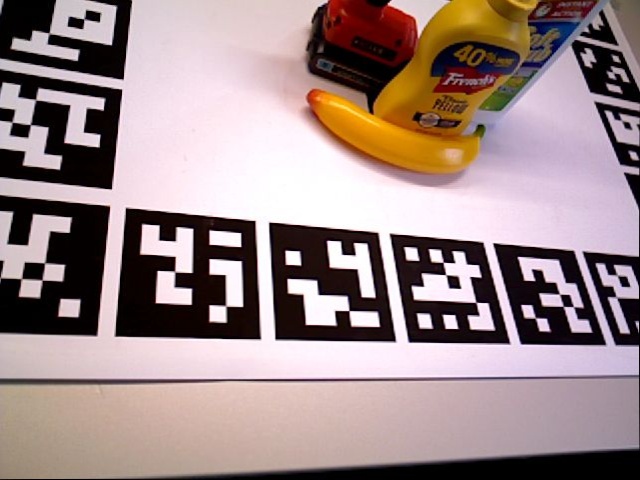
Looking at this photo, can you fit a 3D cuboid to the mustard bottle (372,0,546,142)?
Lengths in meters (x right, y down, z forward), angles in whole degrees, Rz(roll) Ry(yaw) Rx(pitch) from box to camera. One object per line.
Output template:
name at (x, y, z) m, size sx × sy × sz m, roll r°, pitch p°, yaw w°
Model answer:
mustard bottle at (0.128, -0.161, 0.472) m, size 0.095 × 0.196 × 0.058 m, roll 6°, pitch 62°, yaw -20°

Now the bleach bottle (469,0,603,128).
bleach bottle at (0.197, -0.217, 0.499) m, size 0.101 × 0.257 × 0.067 m, roll 8°, pitch 56°, yaw -18°

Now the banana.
banana at (0.081, -0.097, 0.526) m, size 0.195 × 0.040 × 0.073 m, roll 9°, pitch 63°, yaw -15°

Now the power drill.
power drill at (0.092, -0.237, 0.472) m, size 0.183 × 0.191 × 0.056 m, roll 17°, pitch 57°, yaw -15°
